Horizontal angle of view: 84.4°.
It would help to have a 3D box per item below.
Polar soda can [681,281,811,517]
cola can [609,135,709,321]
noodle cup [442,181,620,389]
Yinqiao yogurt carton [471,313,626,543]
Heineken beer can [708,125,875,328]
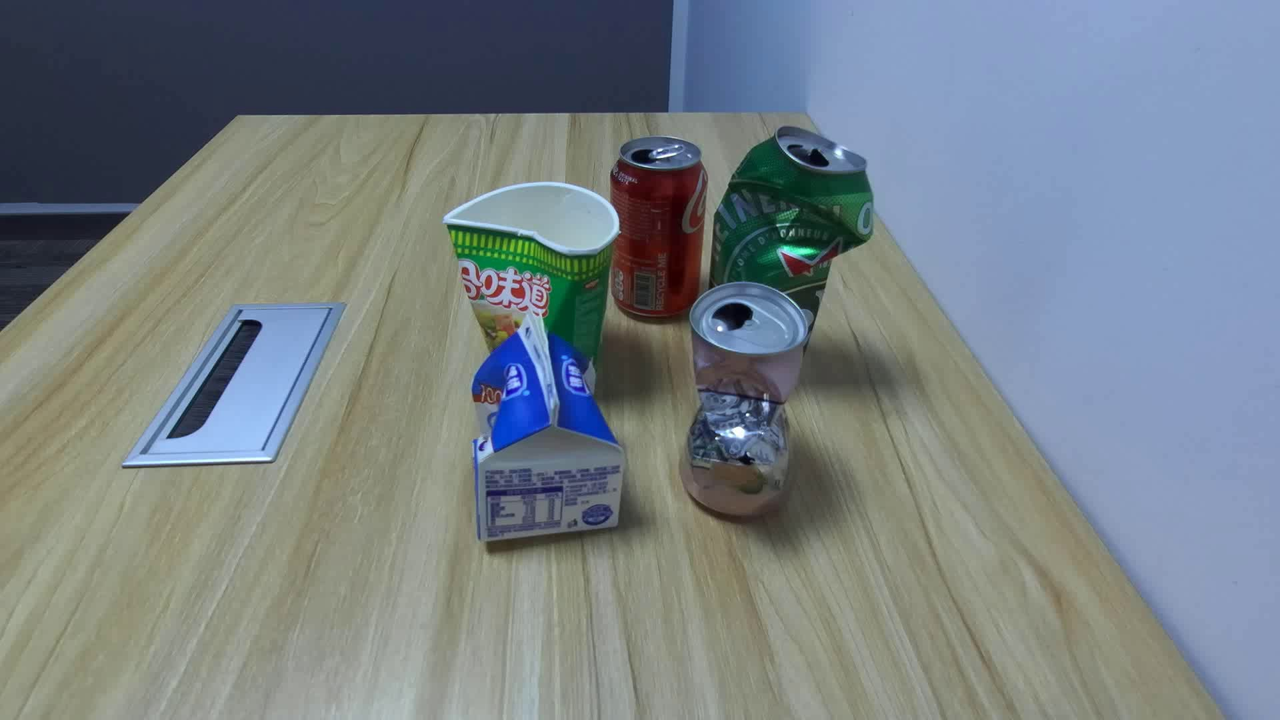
[{"bbox_3d":[0.052,0.023,0.358,0.070,0.114,0.074,-26,42,-22],"label":"Polar soda can"},{"bbox_3d":[0.014,-0.089,0.497,0.068,0.120,0.068,0,29,0],"label":"cola can"},{"bbox_3d":[-0.056,-0.039,0.437,0.087,0.109,0.093,-30,48,-34],"label":"noodle cup"},{"bbox_3d":[-0.048,0.032,0.361,0.071,0.094,0.077,-2,38,-15],"label":"Yinqiao yogurt carton"},{"bbox_3d":[0.080,-0.057,0.427,0.079,0.159,0.067,1,41,-10],"label":"Heineken beer can"}]
